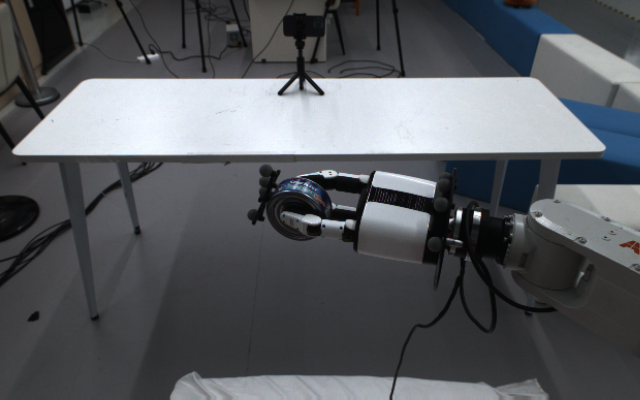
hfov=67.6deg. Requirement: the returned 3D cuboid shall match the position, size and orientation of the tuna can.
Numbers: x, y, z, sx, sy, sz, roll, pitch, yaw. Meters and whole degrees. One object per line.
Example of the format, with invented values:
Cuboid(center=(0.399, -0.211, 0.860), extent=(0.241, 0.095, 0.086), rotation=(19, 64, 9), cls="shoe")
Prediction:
Cuboid(center=(-0.026, 0.016, 0.654), extent=(0.085, 0.085, 0.034), rotation=(10, 34, 11), cls="tuna can")
